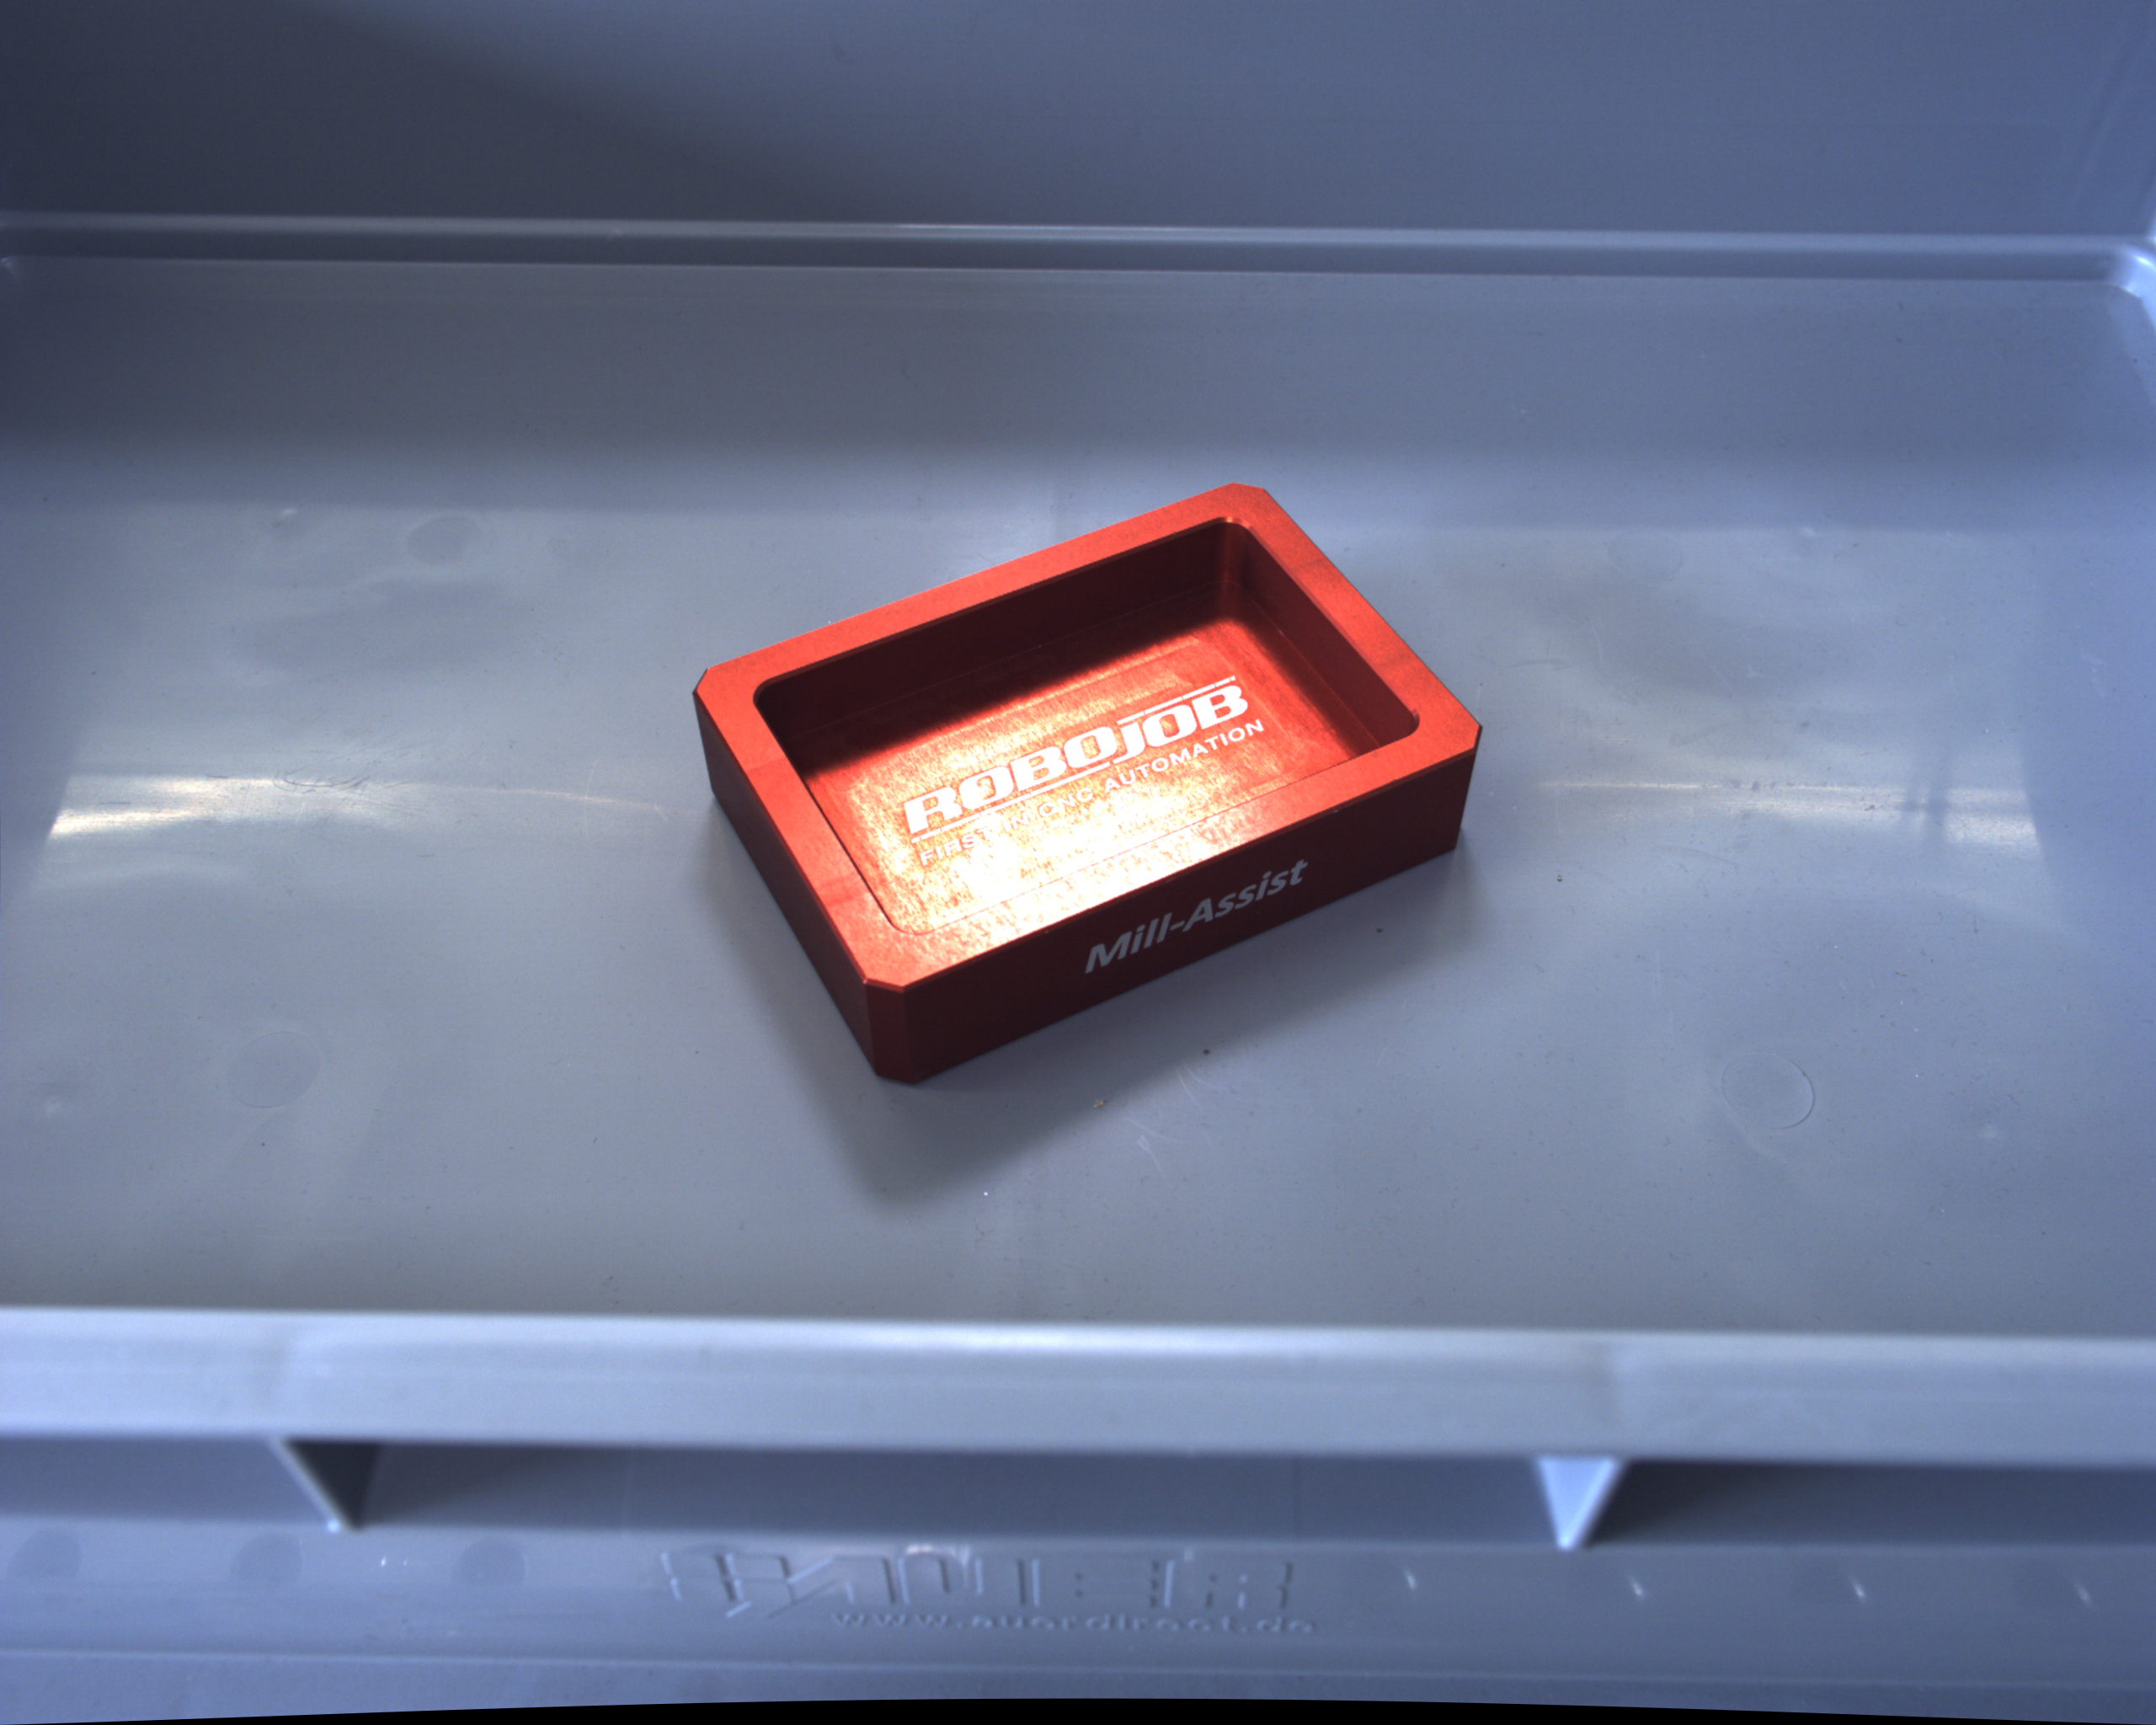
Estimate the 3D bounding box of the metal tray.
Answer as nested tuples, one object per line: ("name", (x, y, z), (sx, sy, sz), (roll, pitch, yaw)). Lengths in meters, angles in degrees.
("metal tray", (0.002, -0.021, 0.415), (0.131, 0.030, 0.090), (-22, 54, -18))
